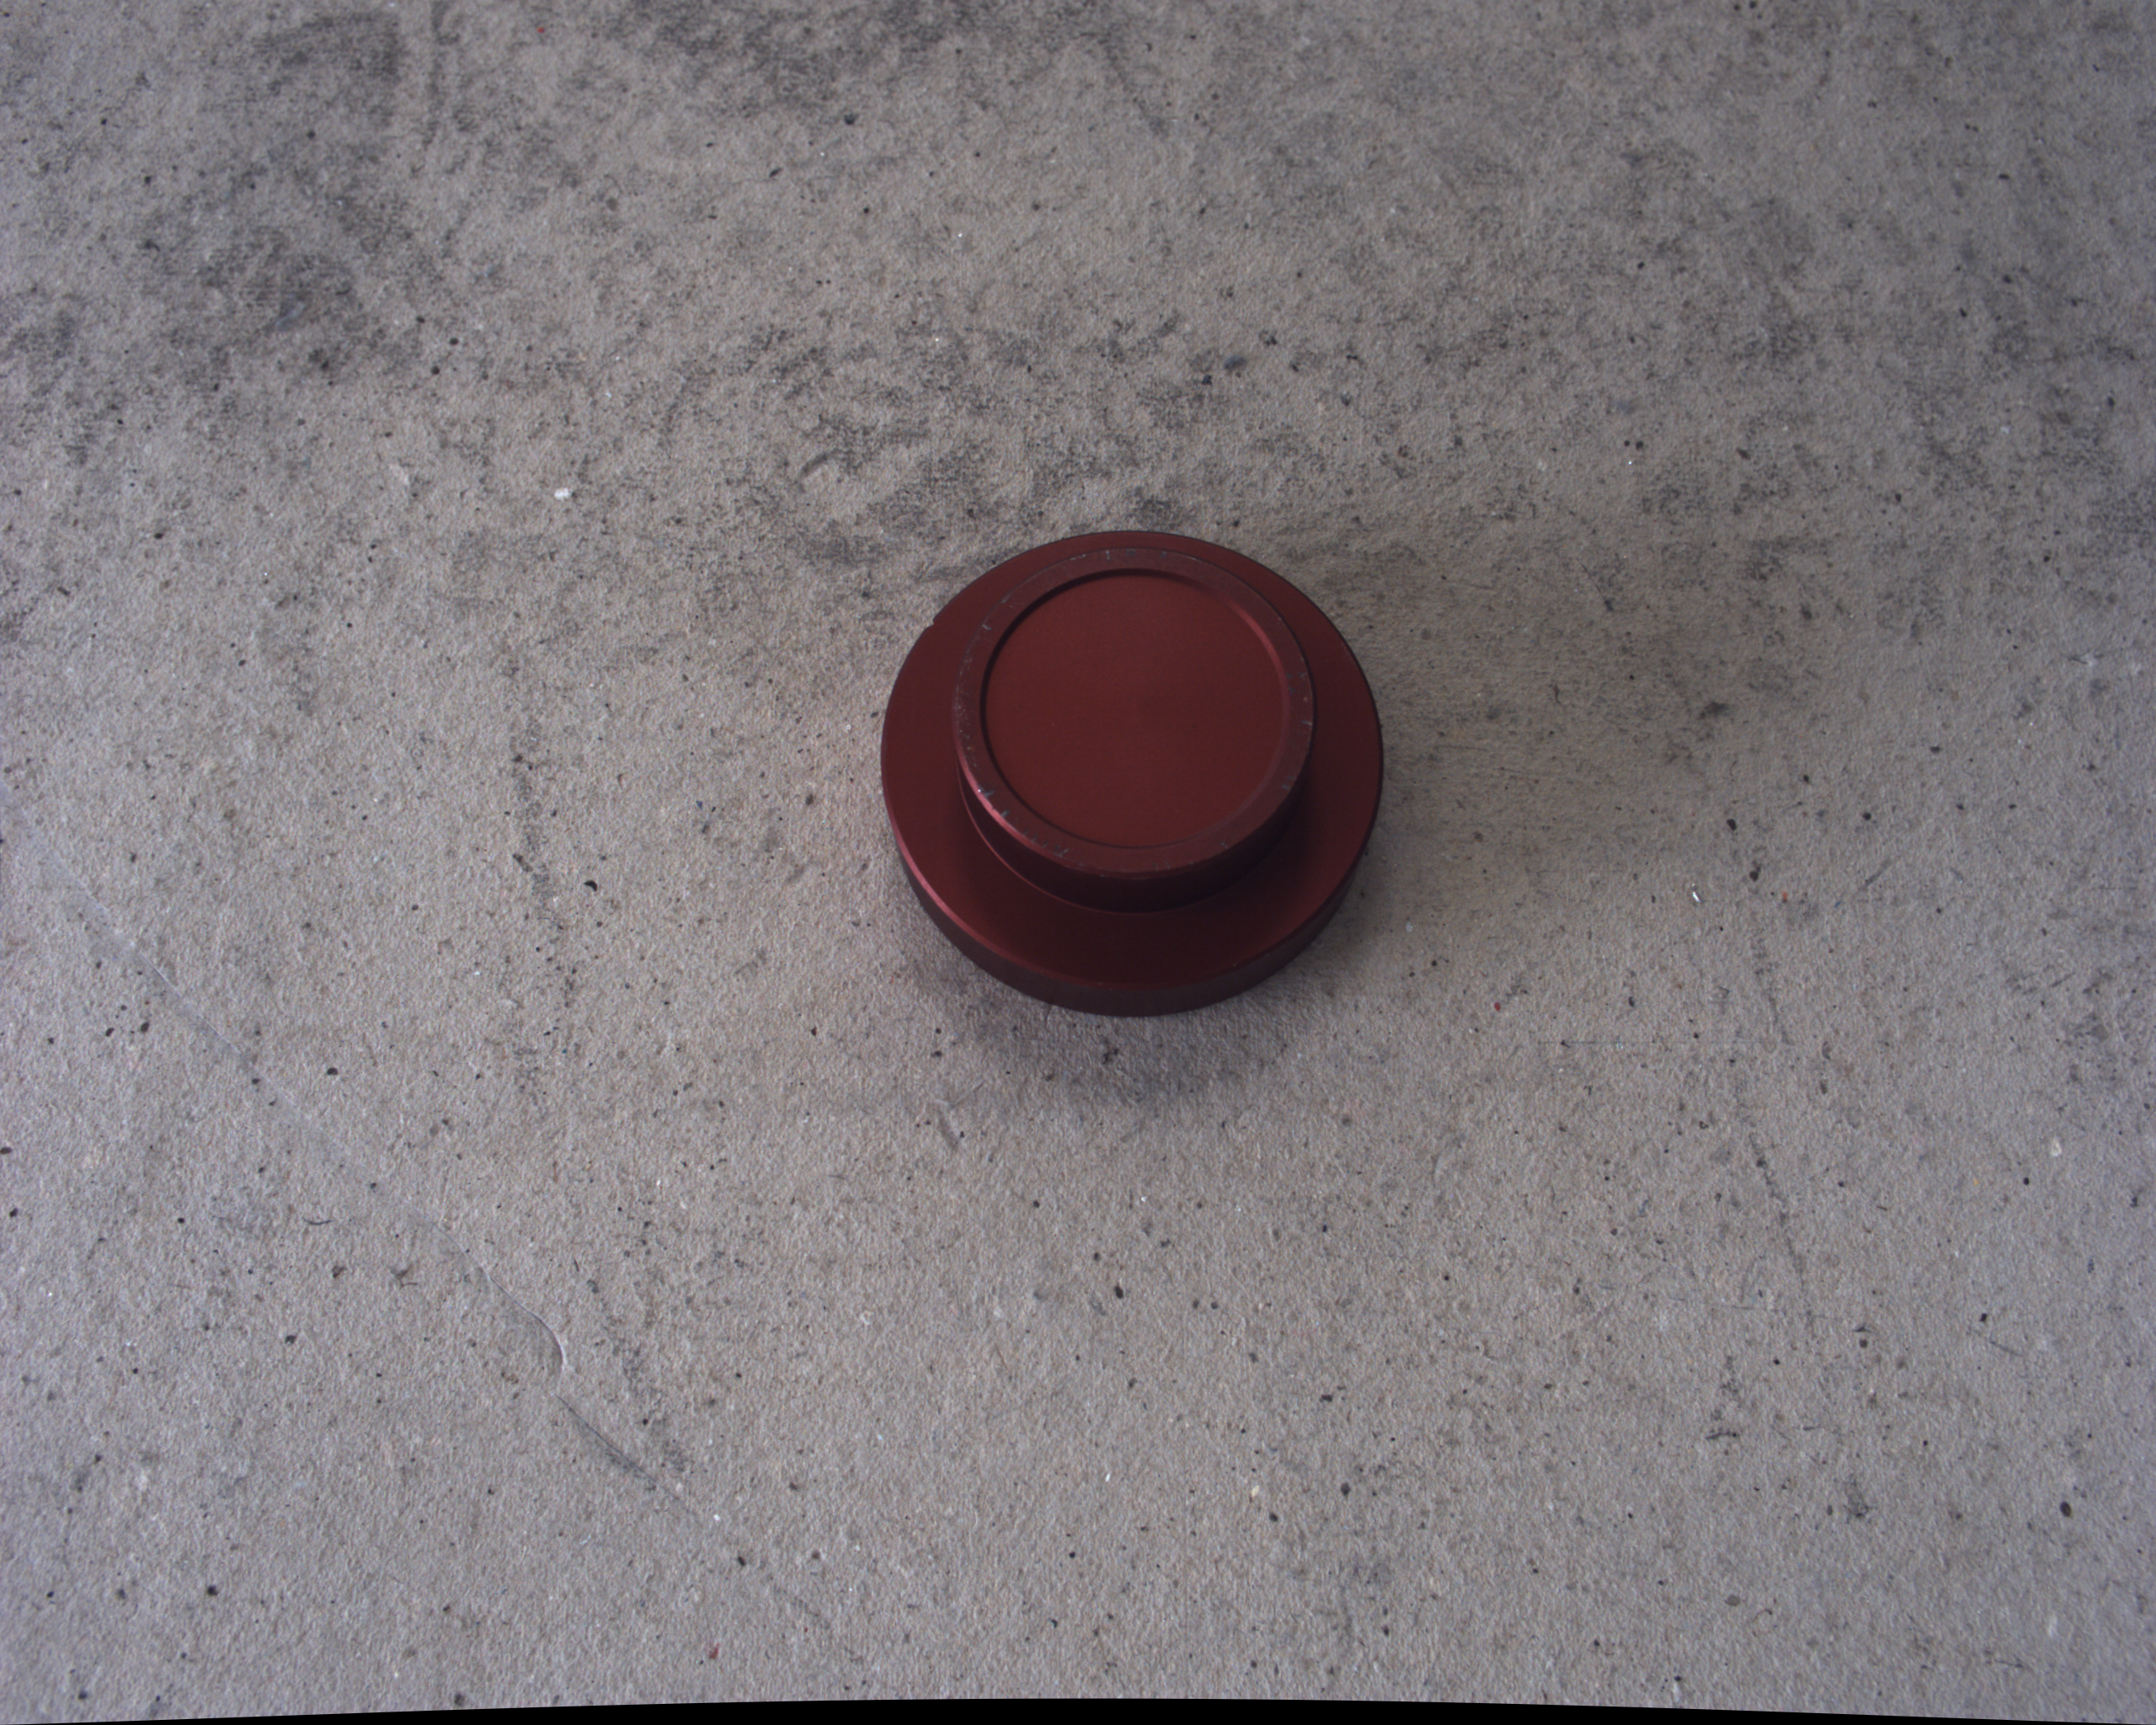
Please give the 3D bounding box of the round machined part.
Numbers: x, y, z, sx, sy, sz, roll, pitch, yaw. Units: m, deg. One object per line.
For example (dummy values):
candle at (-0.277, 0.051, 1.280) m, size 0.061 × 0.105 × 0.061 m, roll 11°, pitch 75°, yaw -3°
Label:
round machined part at (0.011, -0.022, 0.409) m, size 0.099 × 0.042 × 0.098 m, roll 0°, pitch 70°, yaw 0°
